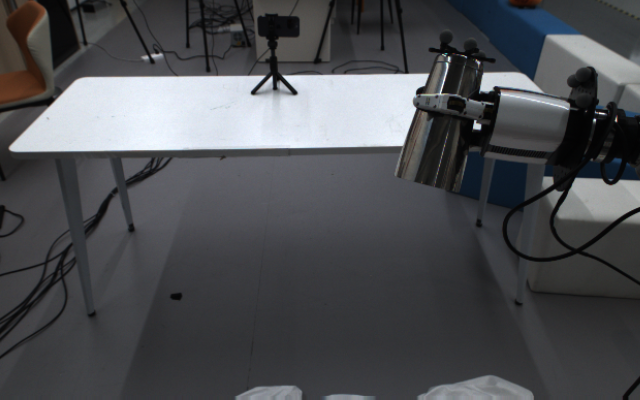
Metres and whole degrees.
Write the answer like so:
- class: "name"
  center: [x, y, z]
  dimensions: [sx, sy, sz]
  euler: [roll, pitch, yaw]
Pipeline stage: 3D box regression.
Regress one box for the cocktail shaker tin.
- class: "cocktail shaker tin"
  center: [0.168, -0.105, 0.656]
  dimensions: [0.093, 0.170, 0.093]
  euler: [14, 6, -2]
